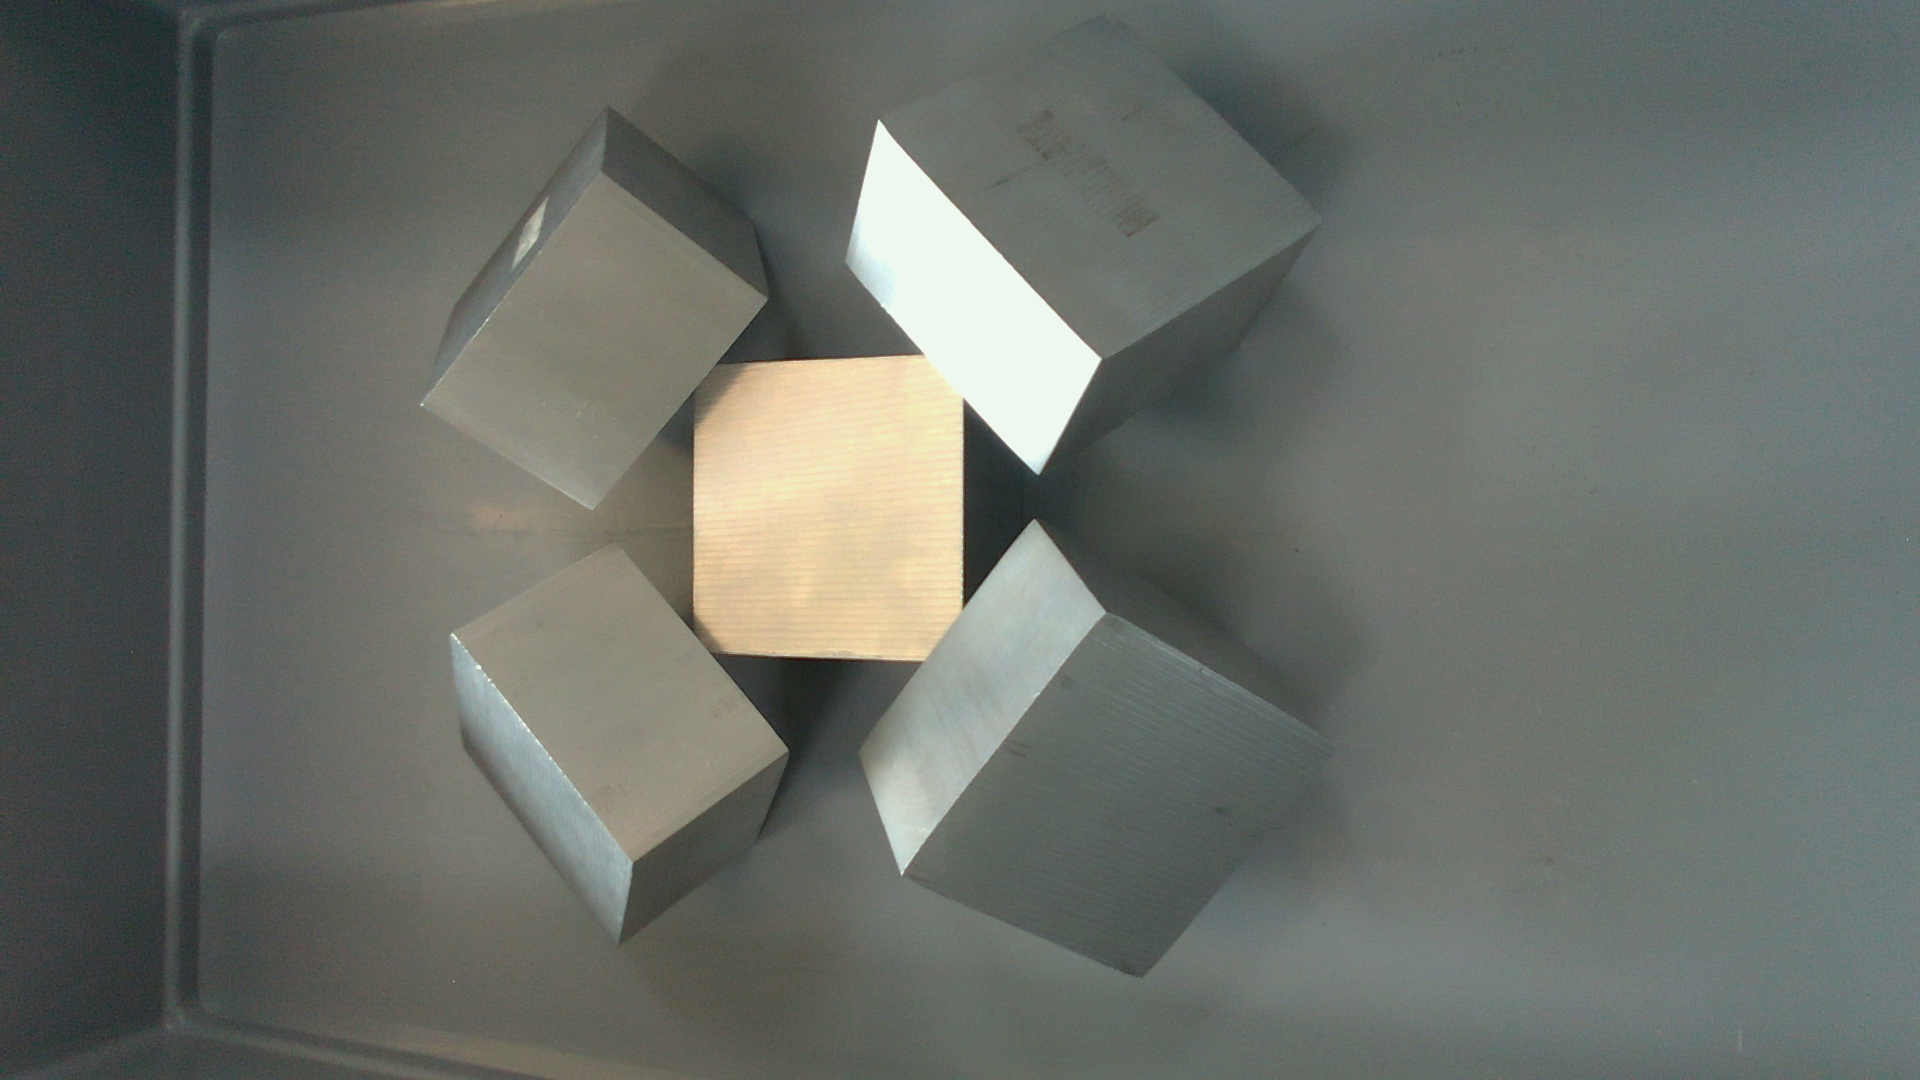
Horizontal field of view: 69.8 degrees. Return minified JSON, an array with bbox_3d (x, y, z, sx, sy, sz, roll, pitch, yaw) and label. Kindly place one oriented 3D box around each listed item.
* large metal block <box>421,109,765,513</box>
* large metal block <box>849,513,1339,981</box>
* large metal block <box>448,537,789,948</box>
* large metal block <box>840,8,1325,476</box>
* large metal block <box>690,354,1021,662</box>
[{"bbox_3d":[-0.104,-0.068,0.394,0.050,0.080,0.080,35,105,-28],"label":"large metal block"},{"bbox_3d":[0.032,0.053,0.347,0.080,0.050,0.080,30,103,-28],"label":"large metal block"},{"bbox_3d":[-0.099,0.060,0.395,0.080,0.050,0.080,48,149,14],"label":"large metal block"},{"bbox_3d":[0.029,-0.077,0.349,0.080,0.050,0.080,-34,74,-27],"label":"large metal block"},{"bbox_3d":[-0.028,-0.009,0.390,0.080,0.050,0.080,1,90,20],"label":"large metal block"}]
